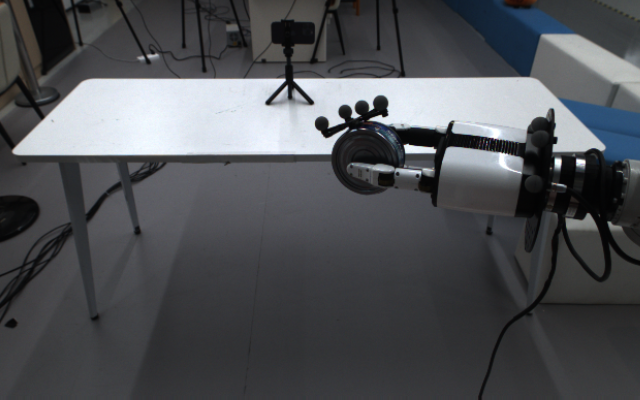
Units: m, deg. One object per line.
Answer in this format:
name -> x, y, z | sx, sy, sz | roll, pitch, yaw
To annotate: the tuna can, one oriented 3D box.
tuna can -> 0.060, -0.052, 0.589 | 0.085, 0.085, 0.034 | 15, 30, 17
